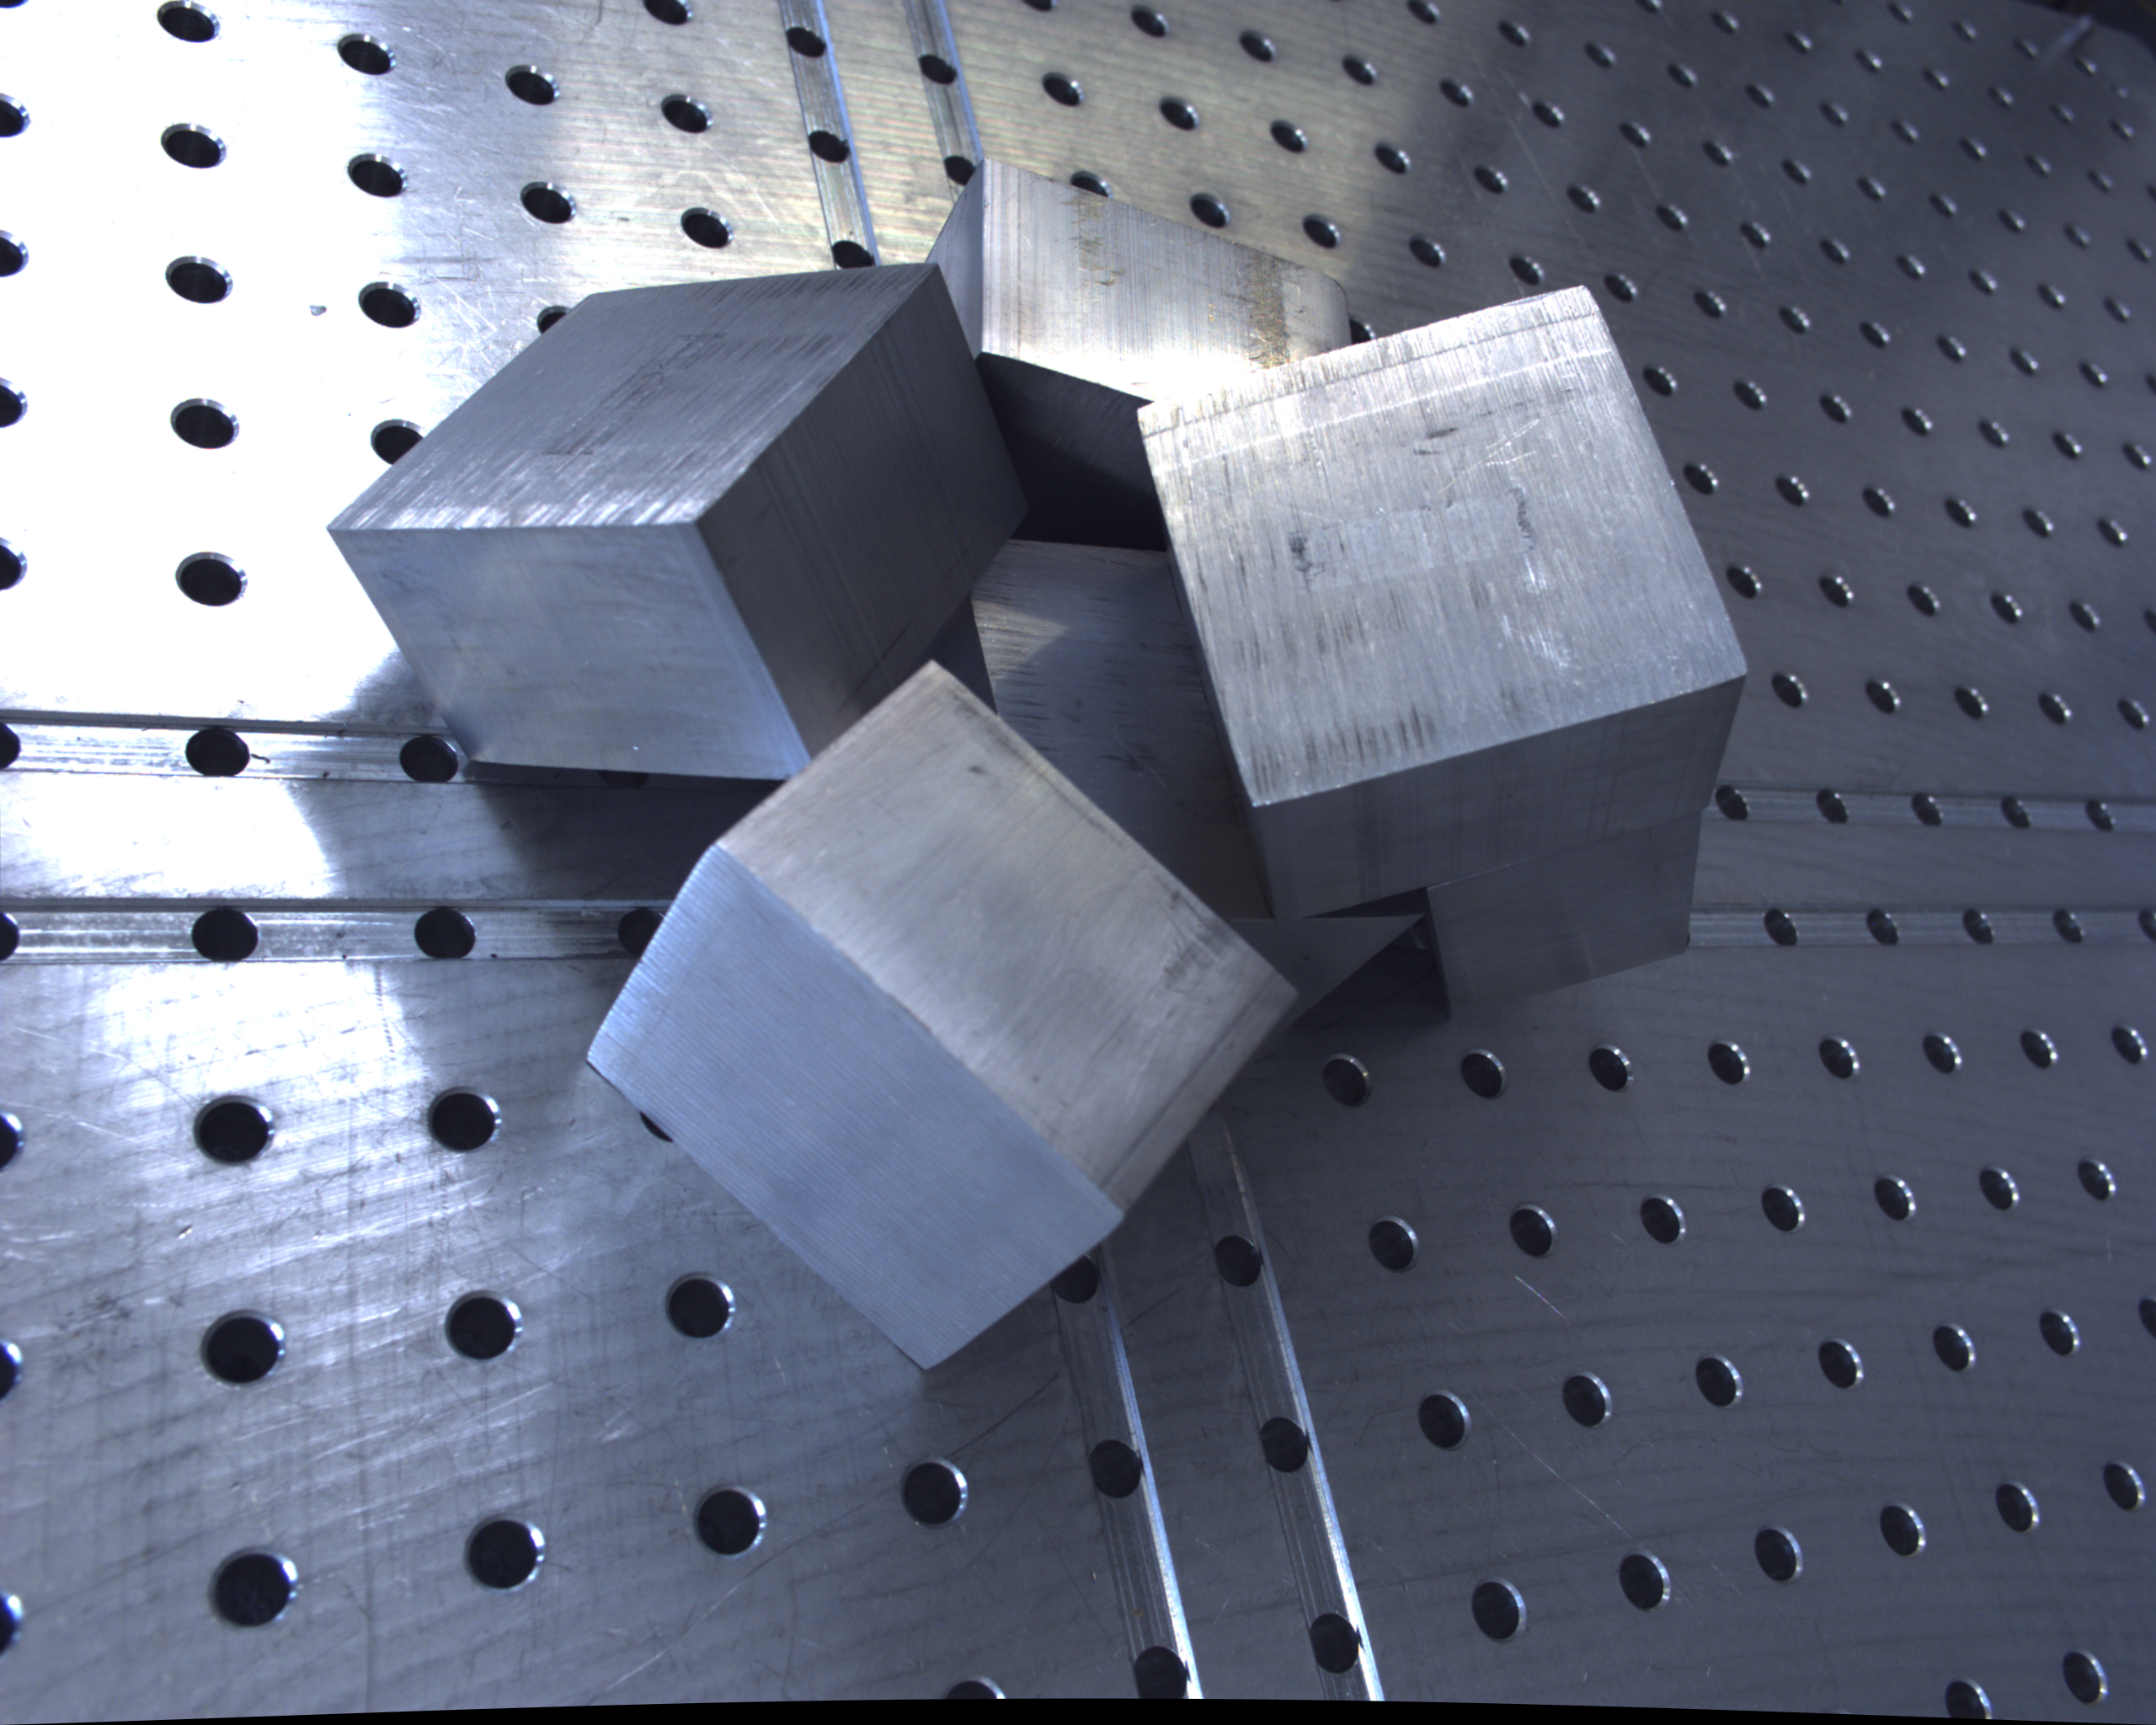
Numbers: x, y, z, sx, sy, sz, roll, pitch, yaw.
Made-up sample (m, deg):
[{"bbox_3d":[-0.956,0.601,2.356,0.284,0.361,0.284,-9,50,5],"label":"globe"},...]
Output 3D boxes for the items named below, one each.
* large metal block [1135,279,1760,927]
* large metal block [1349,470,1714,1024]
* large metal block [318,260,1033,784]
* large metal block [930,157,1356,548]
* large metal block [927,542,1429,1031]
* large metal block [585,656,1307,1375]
[{"bbox_3d":[0.061,-0.044,0.362,0.080,0.050,0.080,-15,64,2],"label":"large metal block"},{"bbox_3d":[0.088,-0.023,0.423,0.050,0.080,0.080,-17,65,6],"label":"large metal block"},{"bbox_3d":[-0.067,-0.060,0.365,0.080,0.080,0.050,-58,140,-39],"label":"large metal block"},{"bbox_3d":[0.002,-0.085,0.426,0.081,0.080,0.050,12,57,-21],"label":"large metal block"},{"bbox_3d":[0.011,-0.013,0.405,0.081,0.050,0.080,1,61,-28],"label":"large metal block"},{"bbox_3d":[-0.024,0.027,0.341,0.080,0.080,0.050,43,50,1],"label":"large metal block"}]
